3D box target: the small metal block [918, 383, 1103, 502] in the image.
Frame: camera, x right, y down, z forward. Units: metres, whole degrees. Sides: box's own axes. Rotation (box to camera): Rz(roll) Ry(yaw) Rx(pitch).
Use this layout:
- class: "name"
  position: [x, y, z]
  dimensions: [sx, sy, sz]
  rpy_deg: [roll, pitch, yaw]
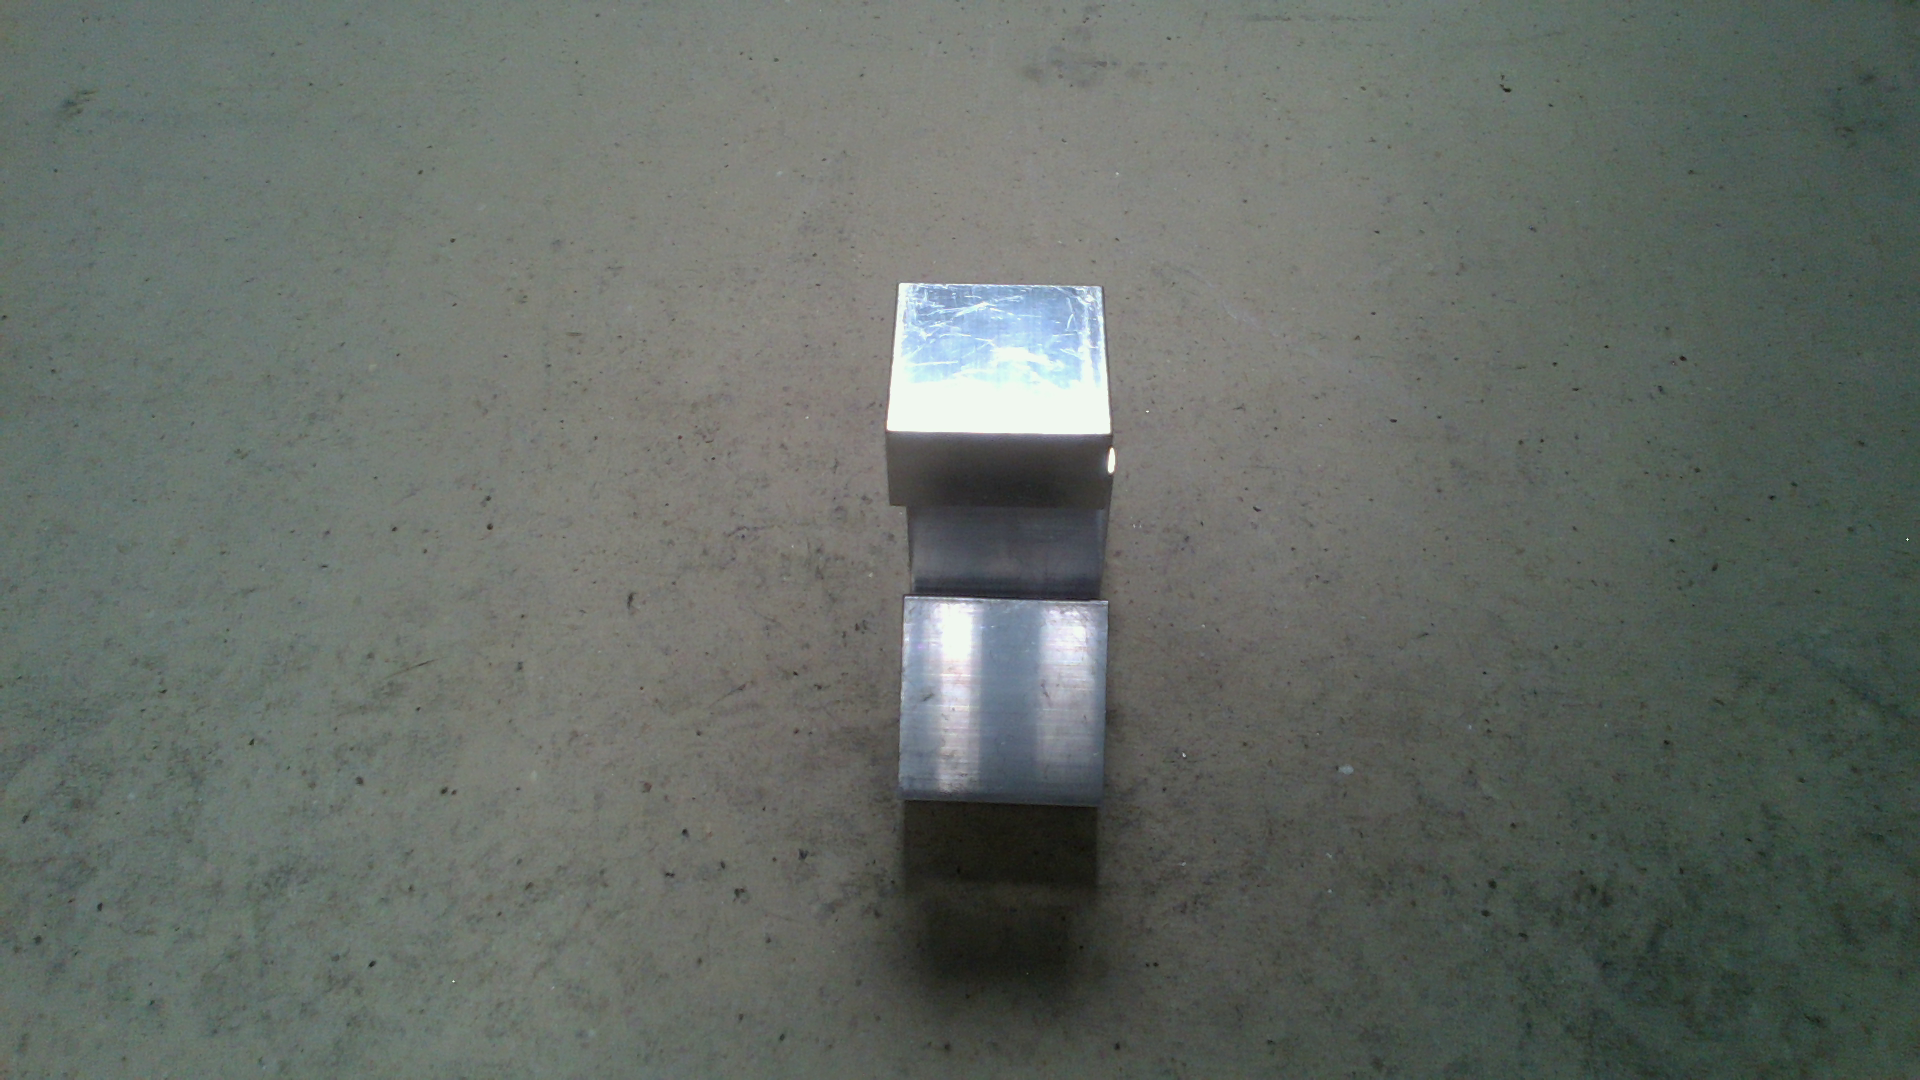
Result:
- class: "small metal block"
  position: [0.015, -0.029, 0.401]
  dimensions: [0.050, 0.025, 0.050]
  rpy_deg: [2, 14, 2]

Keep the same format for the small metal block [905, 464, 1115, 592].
- class: "small metal block"
  position: [0.012, -0.010, 0.351]
  dimensions: [0.050, 0.050, 0.025]
  rpy_deg: [2, 50, 2]

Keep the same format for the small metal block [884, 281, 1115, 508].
- class: "small metal block"
  position: [0.009, -0.035, 0.323]
  dimensions: [0.050, 0.025, 0.050]
  rpy_deg: [1, 50, 1]

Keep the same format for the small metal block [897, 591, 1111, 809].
- class: "small metal block"
  position: [0.011, 0.039, 0.343]
  dimensions: [0.050, 0.025, 0.050]
  rpy_deg: [2, 90, 2]

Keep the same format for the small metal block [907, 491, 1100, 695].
- class: "small metal block"
  position: [0.012, 0.014, 0.381]
  dimensions: [0.050, 0.025, 0.050]
  rpy_deg: [2, 50, 2]
